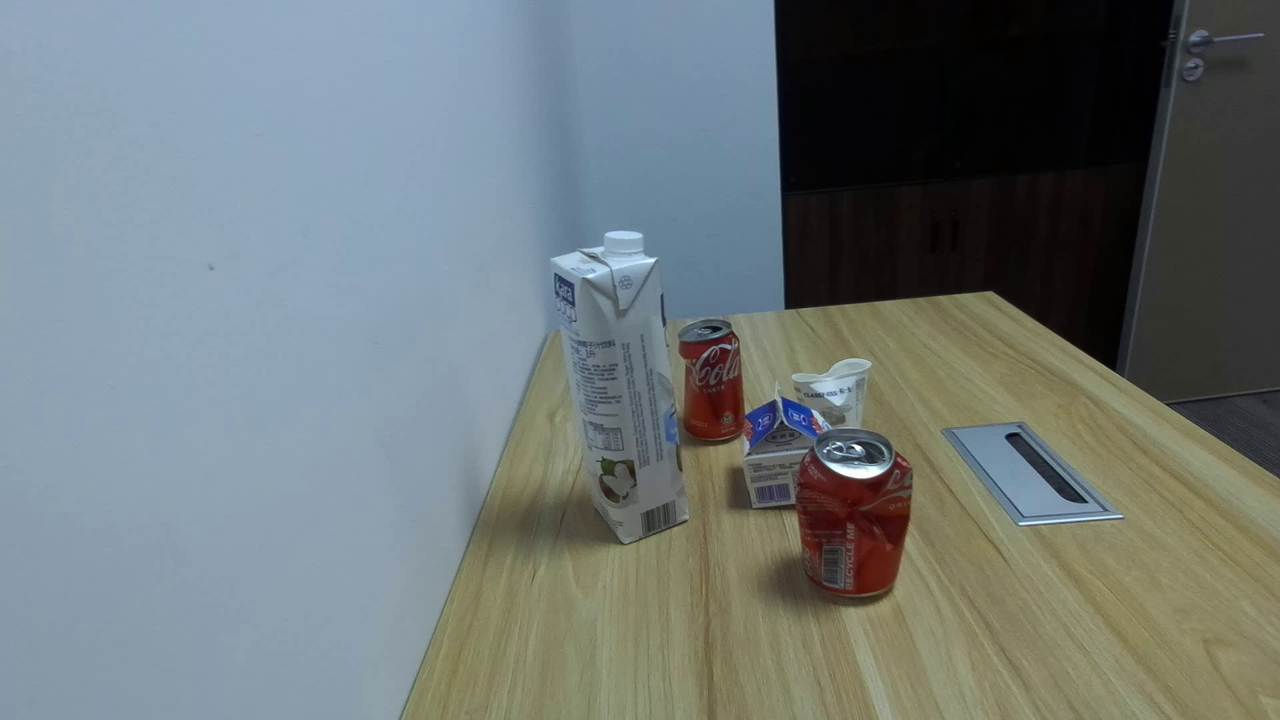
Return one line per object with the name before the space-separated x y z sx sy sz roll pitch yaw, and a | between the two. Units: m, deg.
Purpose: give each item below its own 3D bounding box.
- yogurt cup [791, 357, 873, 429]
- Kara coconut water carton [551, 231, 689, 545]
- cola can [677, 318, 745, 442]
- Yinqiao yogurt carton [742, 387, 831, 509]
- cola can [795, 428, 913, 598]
yogurt cup | 0.190 0.041 0.701 0.053 0.071 0.076 13 27 44
Kara coconut water carton | -0.012 0.023 0.568 0.075 0.245 0.076 -16 25 -18
cola can | 0.074 0.021 0.722 0.065 0.117 0.072 -4 22 1
Yinqiao yogurt carton | 0.129 0.069 0.611 0.080 0.097 0.074 -9 21 13
cola can | 0.146 0.106 0.494 0.069 0.112 0.066 16 32 38
